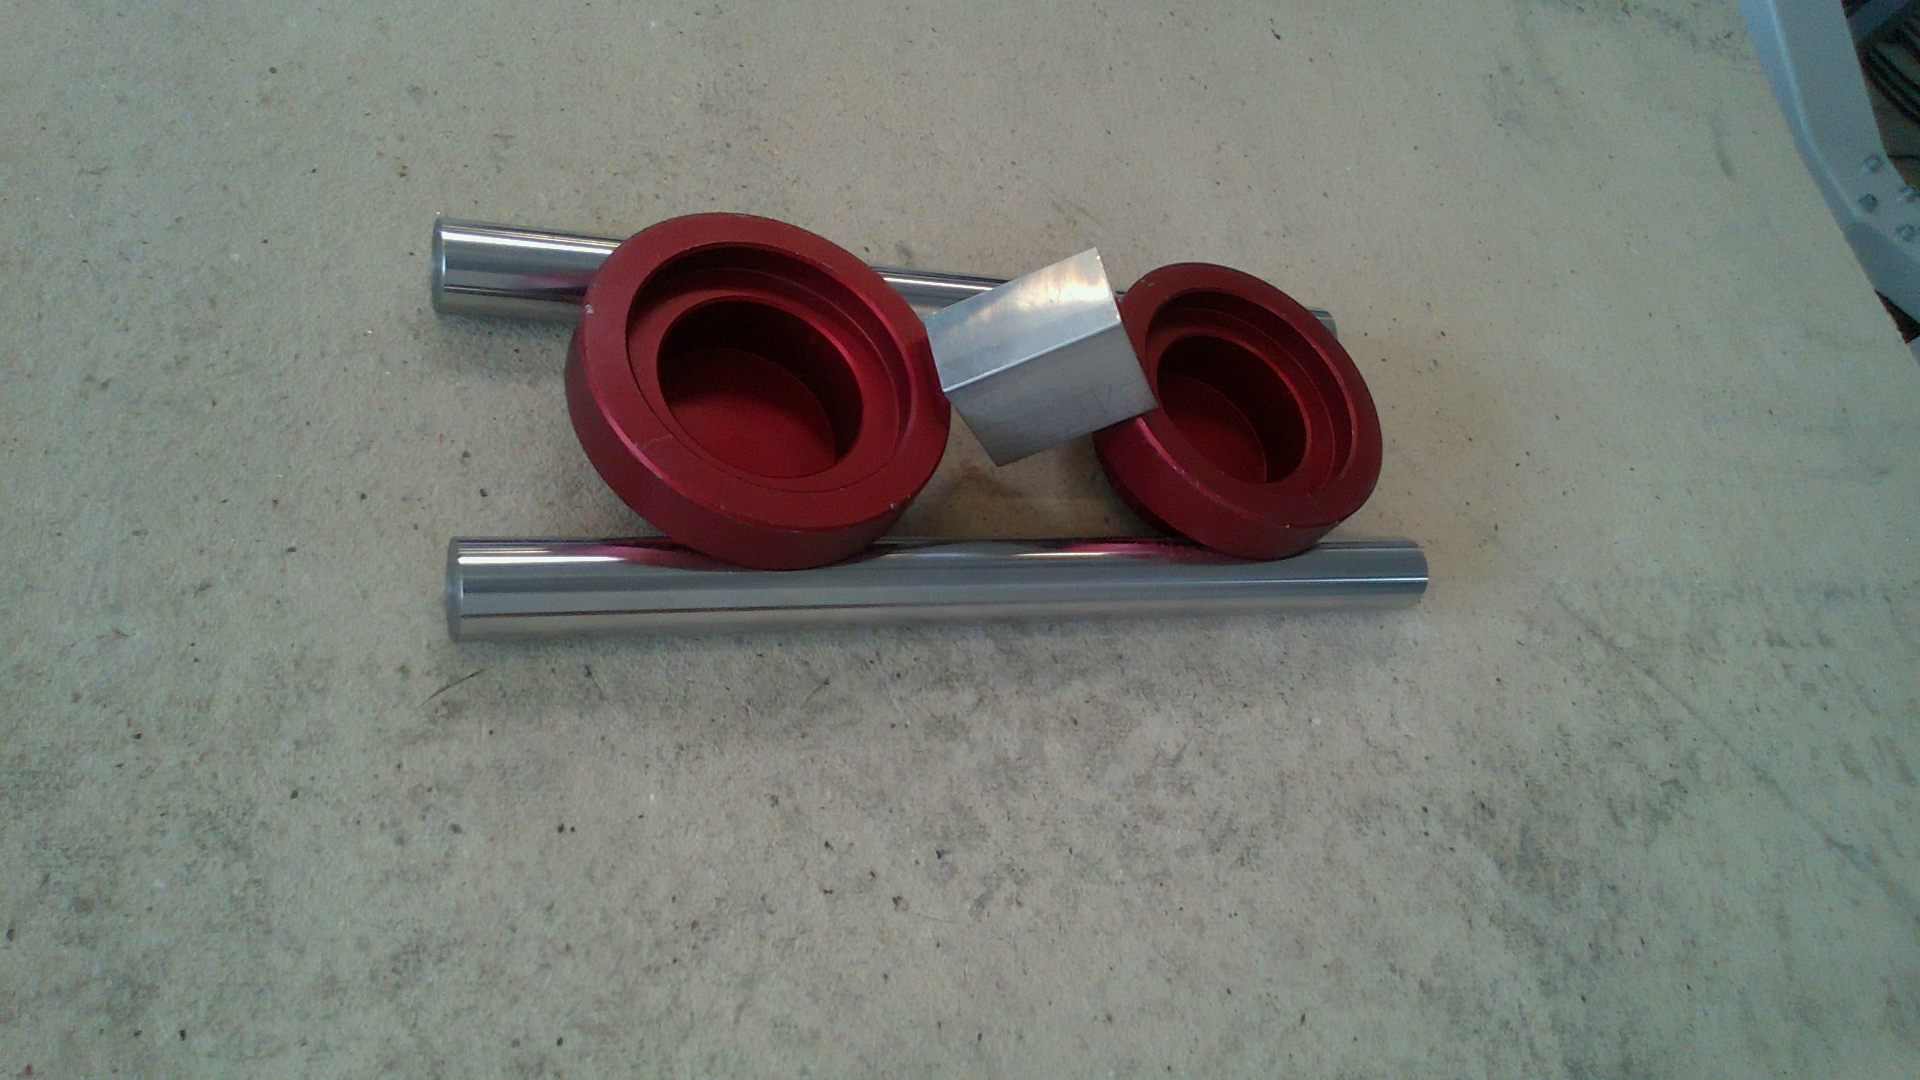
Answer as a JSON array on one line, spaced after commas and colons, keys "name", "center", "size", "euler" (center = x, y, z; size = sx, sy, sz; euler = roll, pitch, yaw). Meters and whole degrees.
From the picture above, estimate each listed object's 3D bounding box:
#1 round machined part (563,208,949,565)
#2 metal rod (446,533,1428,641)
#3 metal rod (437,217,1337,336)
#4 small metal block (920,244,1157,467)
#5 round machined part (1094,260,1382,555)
[{"name": "round machined part", "center": [-0.056, -0.036, 0.366], "size": [0.098, 0.042, 0.098], "euler": [14, 56, -21]}, {"name": "metal rod", "center": [0.015, 0.011, 0.391], "size": [0.301, 0.025, 0.025], "euler": [0, 62, -28]}, {"name": "metal rod", "center": [-0.004, -0.072, 0.431], "size": [0.301, 0.025, 0.025], "euler": [0, 62, -28]}, {"name": "small metal block", "center": [0.023, -0.050, 0.383], "size": [0.050, 0.050, 0.025], "euler": [-20, 64, 11]}, {"name": "round machined part", "center": [0.082, -0.038, 0.440], "size": [0.098, 0.042, 0.098], "euler": [14, 56, -21]}]
